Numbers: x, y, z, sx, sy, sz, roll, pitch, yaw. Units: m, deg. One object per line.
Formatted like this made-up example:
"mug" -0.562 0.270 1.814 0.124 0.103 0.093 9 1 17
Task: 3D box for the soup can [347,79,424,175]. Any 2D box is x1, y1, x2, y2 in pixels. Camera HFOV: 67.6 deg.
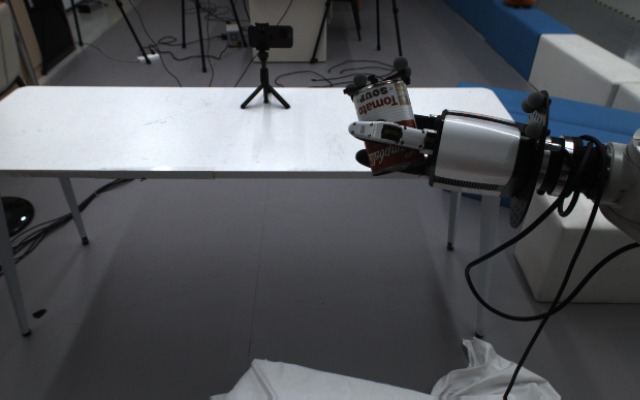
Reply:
"soup can" 0.085 -0.087 0.592 0.067 0.101 0.067 -14 -2 -1
